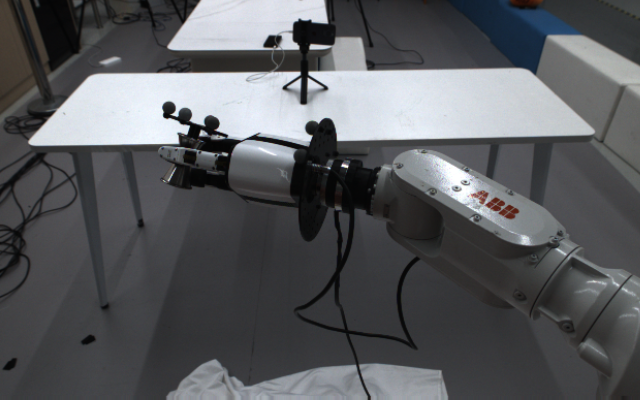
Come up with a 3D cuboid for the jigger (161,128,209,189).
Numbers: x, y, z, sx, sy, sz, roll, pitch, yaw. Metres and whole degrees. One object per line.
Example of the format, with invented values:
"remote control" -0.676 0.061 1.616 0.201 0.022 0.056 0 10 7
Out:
"jigger" -0.186 -0.053 0.656 0.043 0.071 0.043 21 6 -2
